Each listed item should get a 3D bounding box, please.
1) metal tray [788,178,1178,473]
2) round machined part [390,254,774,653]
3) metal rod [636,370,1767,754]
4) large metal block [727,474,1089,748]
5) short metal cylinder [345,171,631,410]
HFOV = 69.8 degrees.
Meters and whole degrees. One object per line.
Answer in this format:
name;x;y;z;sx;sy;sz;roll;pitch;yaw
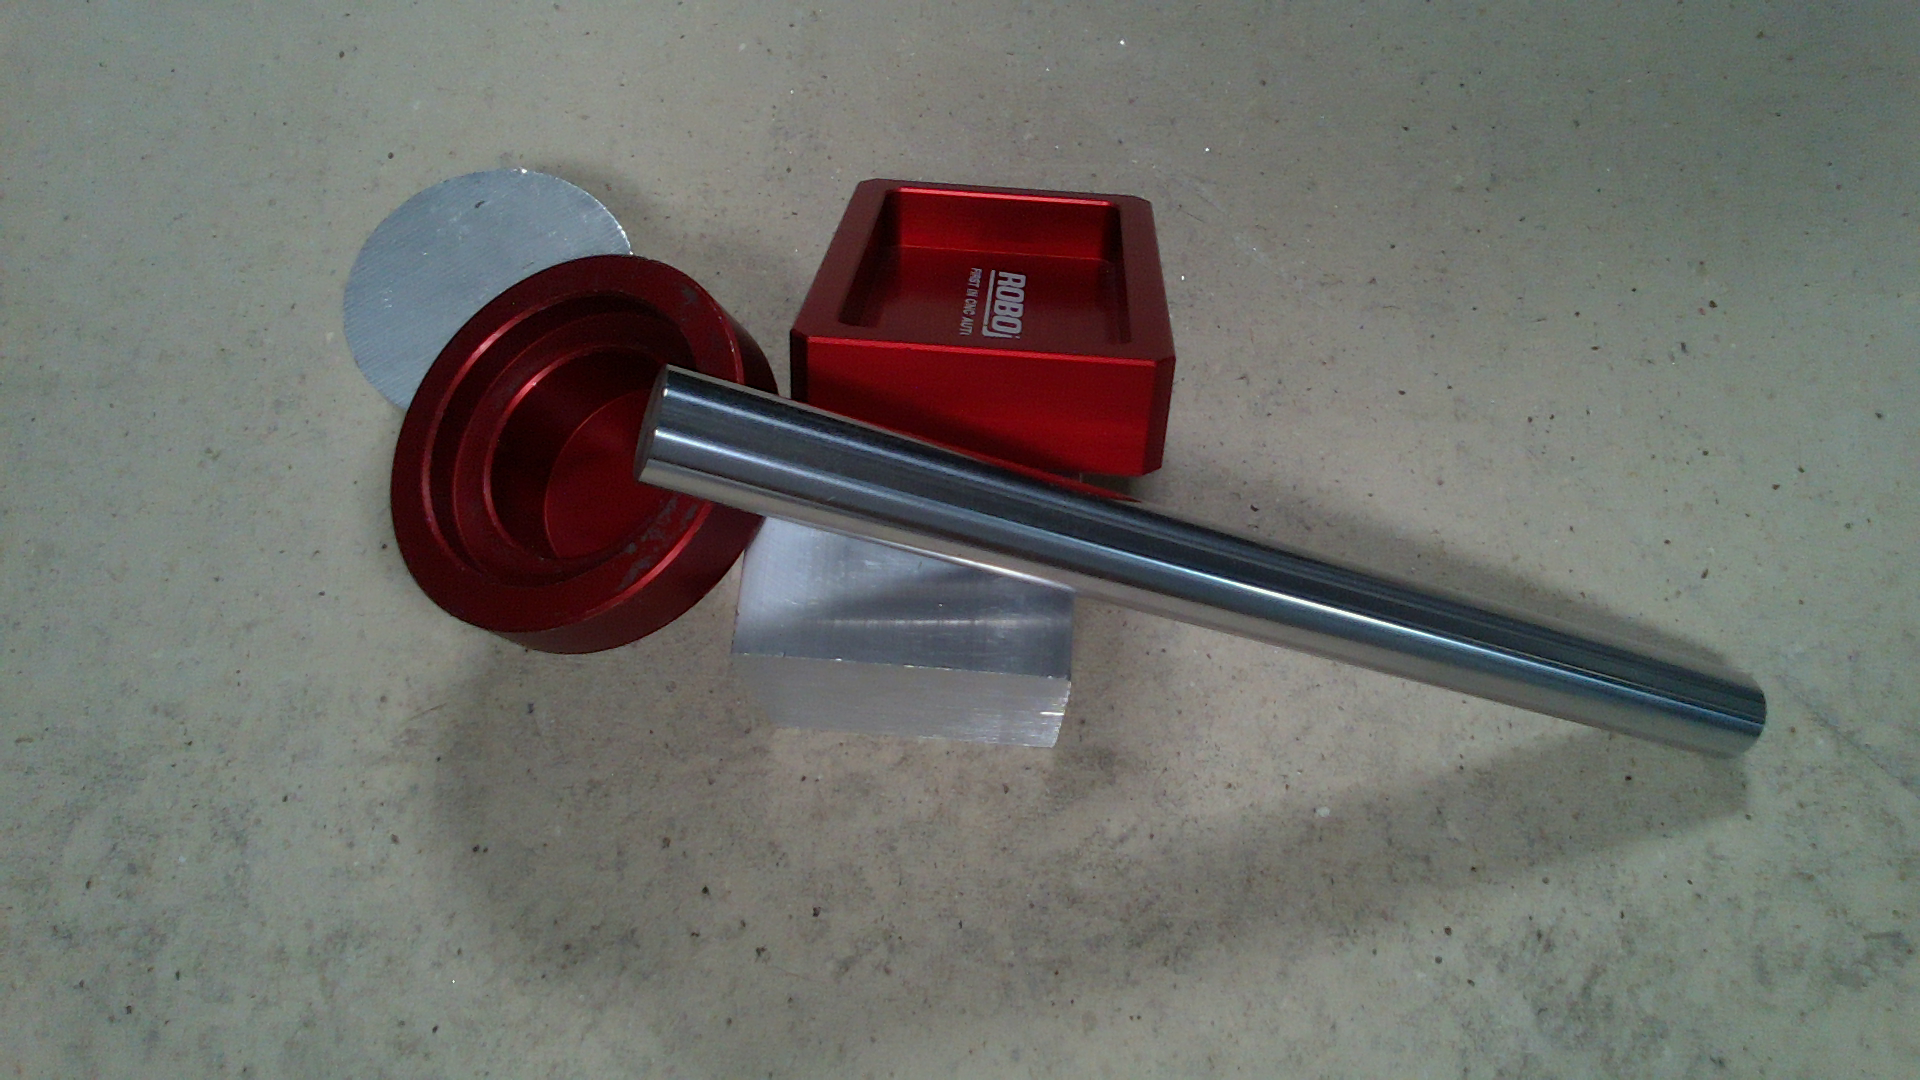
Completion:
metal tray;0.009;-0.064;0.375;0.090;0.030;0.130;4;30;2
round machined part;-0.089;-0.018;0.345;0.098;0.042;0.098;-7;68;19
metal rod;0.075;0.012;0.328;0.301;0.025;0.025;14;69;-21
large metal block;-0.011;0.019;0.358;0.080;0.080;0.050;4;70;2
short metal cylinder;-0.129;-0.059;0.403;0.080;0.050;0.080;0;70;0
